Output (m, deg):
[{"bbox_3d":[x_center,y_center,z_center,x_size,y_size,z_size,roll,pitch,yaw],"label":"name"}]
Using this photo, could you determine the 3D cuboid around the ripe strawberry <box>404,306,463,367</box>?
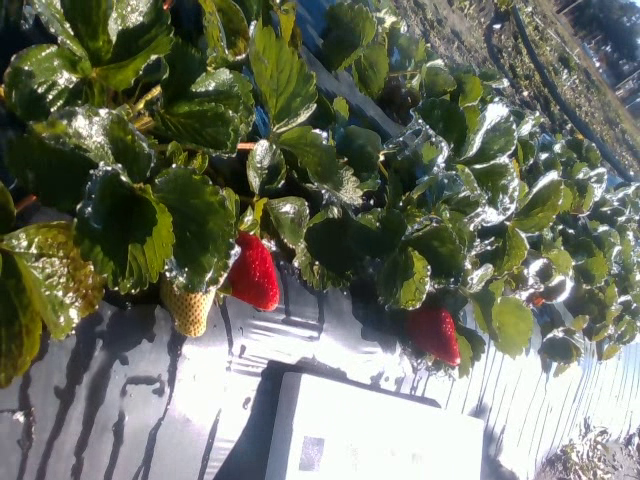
[{"bbox_3d":[0.110,0.088,0.542,0.044,0.061,0.048,-39,-35,28],"label":"ripe strawberry"}]

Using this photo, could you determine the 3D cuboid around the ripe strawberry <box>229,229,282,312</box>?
[{"bbox_3d":[-0.044,0.027,0.384,0.042,0.061,0.046,7,-50,-48],"label":"ripe strawberry"}]
